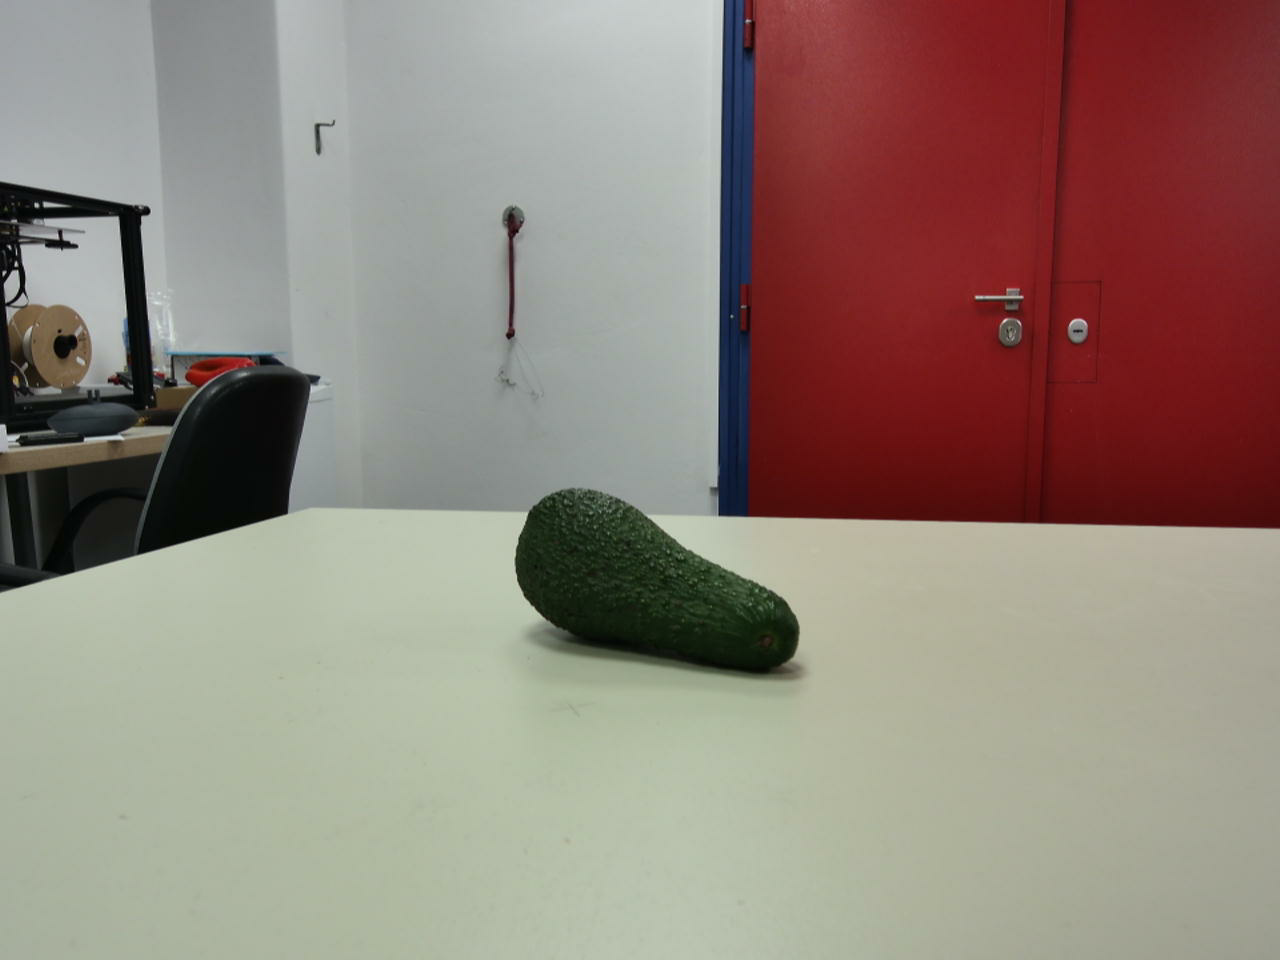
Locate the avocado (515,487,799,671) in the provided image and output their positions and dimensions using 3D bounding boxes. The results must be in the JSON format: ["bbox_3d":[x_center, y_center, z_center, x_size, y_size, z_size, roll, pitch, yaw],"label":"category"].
[{"bbox_3d":[0.007,0.038,0.426,0.141,0.067,0.063,3,4,28],"label":"avocado"}]
